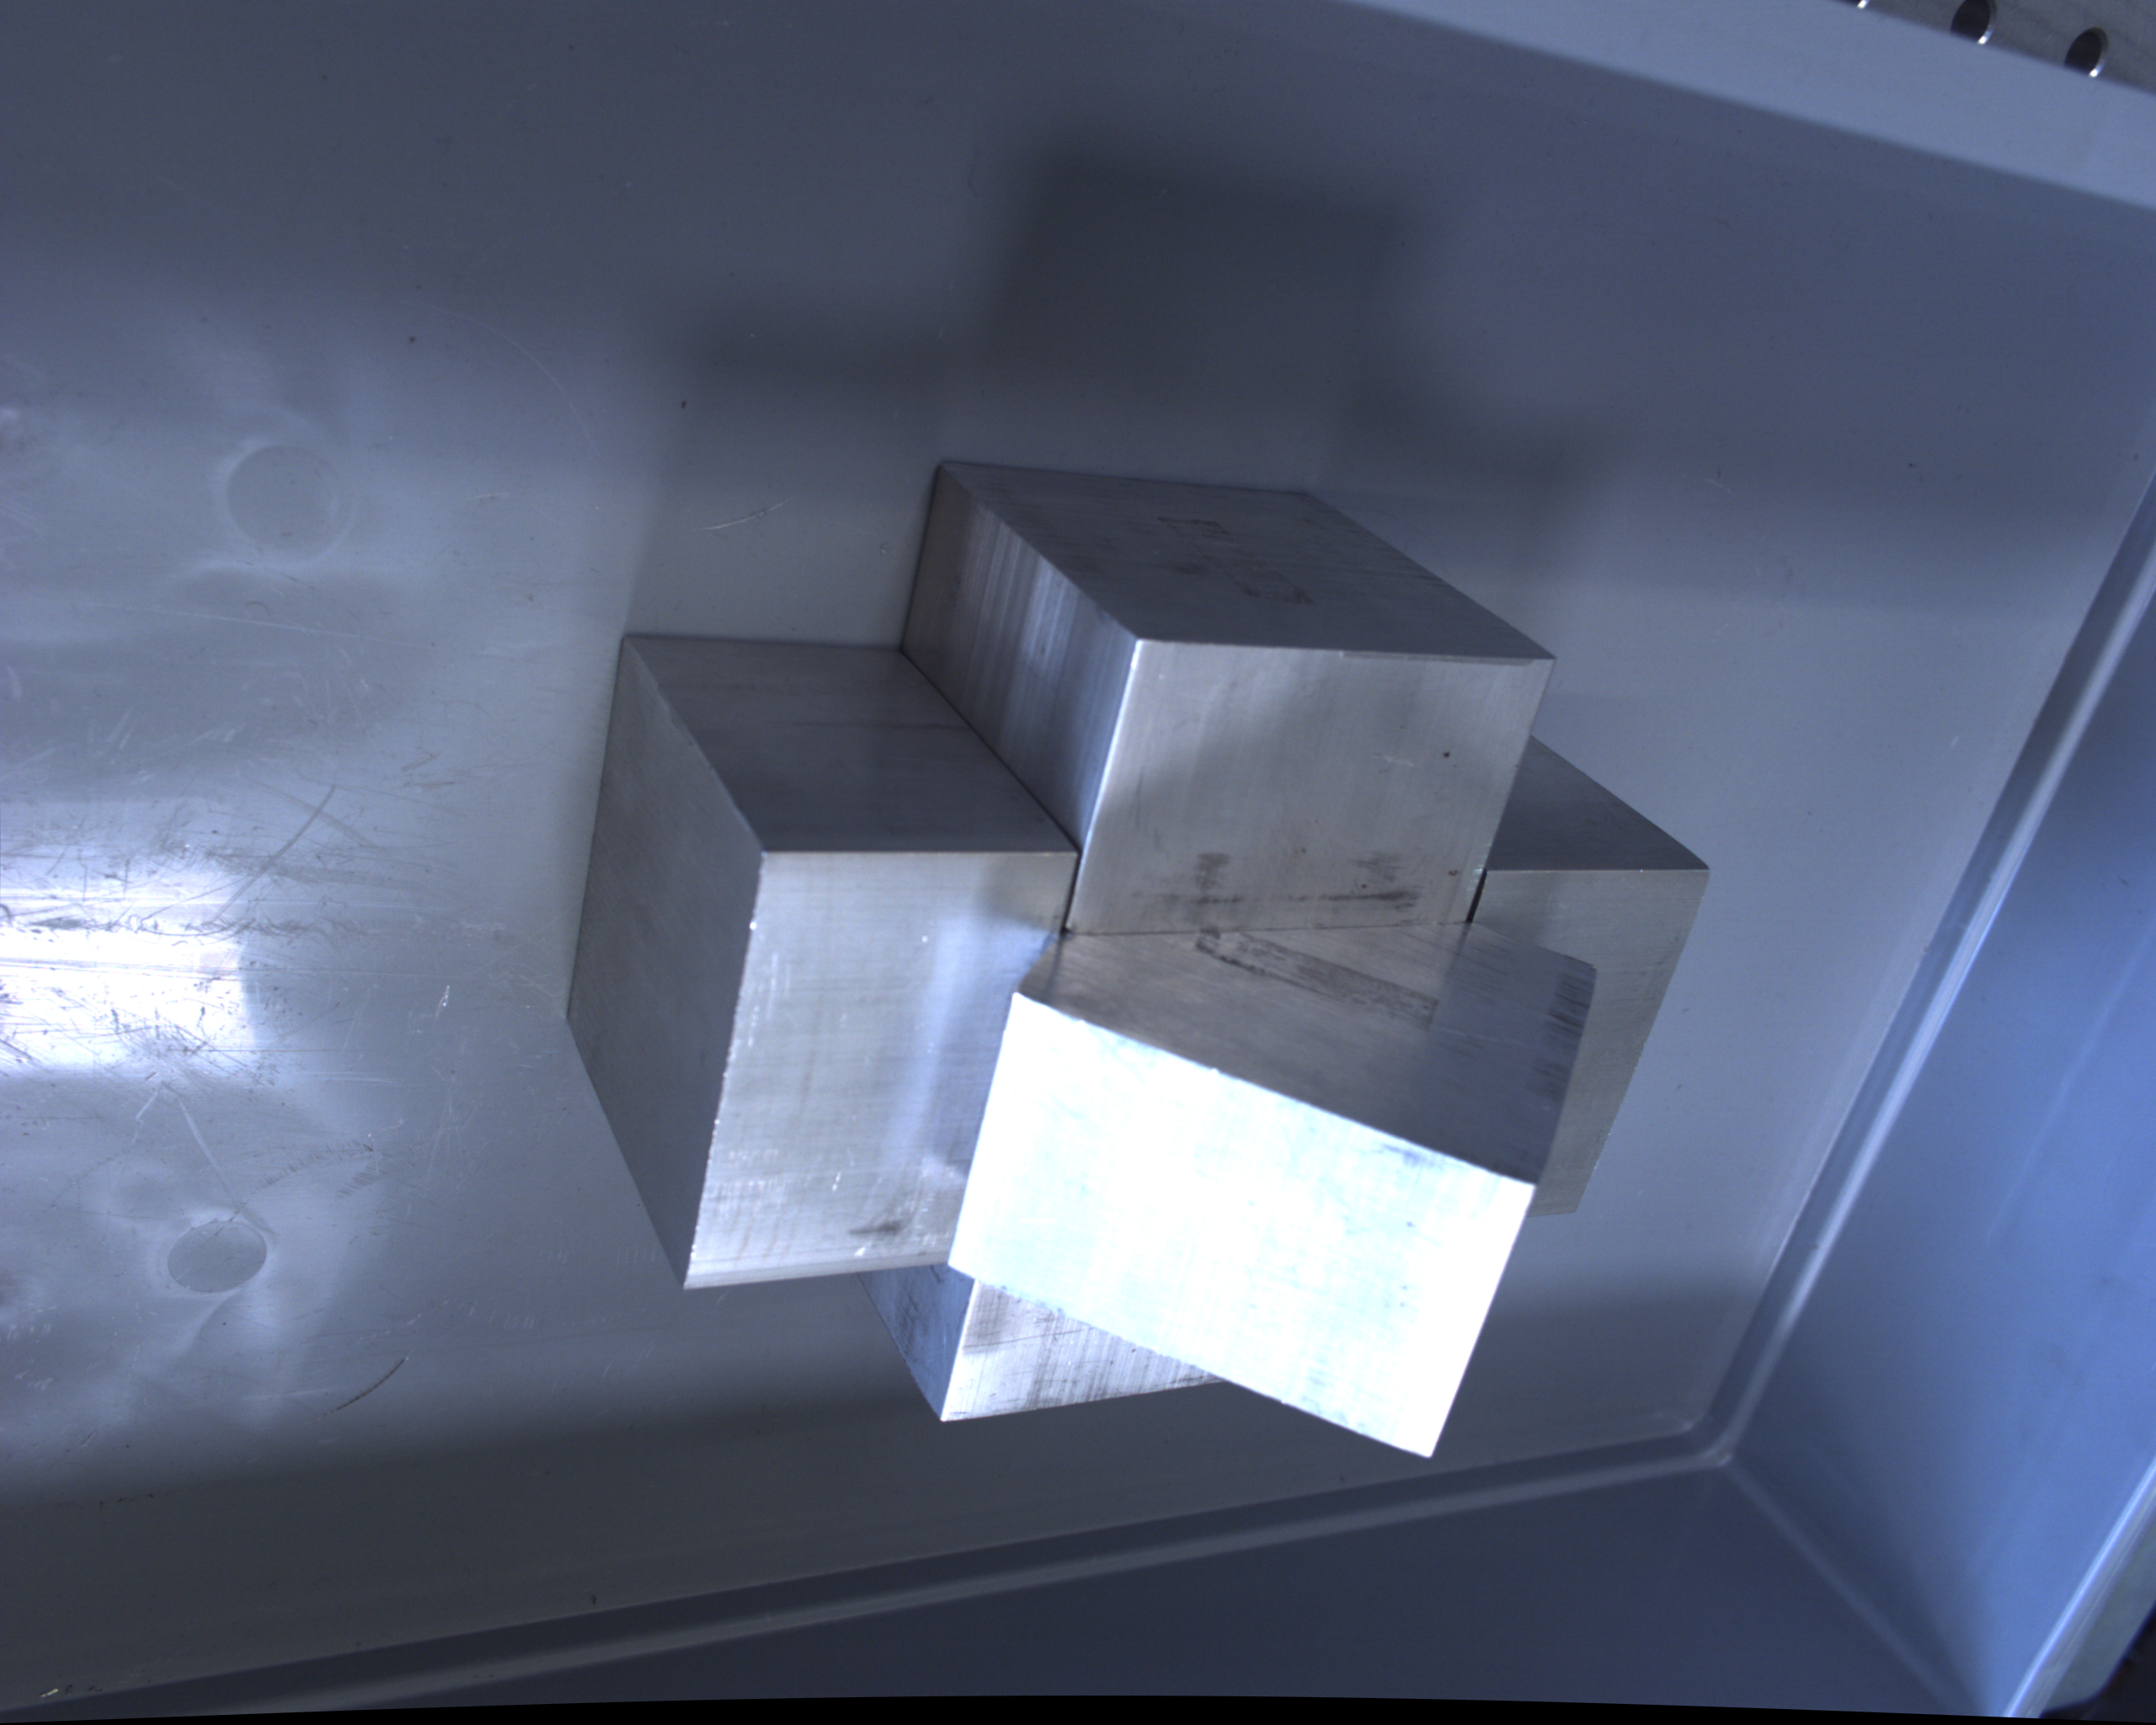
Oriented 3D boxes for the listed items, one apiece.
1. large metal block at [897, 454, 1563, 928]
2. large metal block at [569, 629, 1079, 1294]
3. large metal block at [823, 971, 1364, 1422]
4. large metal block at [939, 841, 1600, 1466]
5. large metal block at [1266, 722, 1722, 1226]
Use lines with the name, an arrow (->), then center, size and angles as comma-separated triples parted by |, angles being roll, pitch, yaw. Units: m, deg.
large metal block -> 0.022, -0.031, 0.364 | 0.081, 0.080, 0.050 | 0, 119, -28
large metal block -> -0.048, 0.014, 0.355 | 0.050, 0.080, 0.079 | 0, 119, -29
large metal block -> -0.001, 0.057, 0.406 | 0.081, 0.080, 0.050 | 0, 119, -28
large metal block -> 0.034, 0.041, 0.342 | 0.080, 0.080, 0.050 | -46, 153, -62
large metal block -> 0.070, 0.018, 0.418 | 0.050, 0.080, 0.079 | 0, 119, -29
